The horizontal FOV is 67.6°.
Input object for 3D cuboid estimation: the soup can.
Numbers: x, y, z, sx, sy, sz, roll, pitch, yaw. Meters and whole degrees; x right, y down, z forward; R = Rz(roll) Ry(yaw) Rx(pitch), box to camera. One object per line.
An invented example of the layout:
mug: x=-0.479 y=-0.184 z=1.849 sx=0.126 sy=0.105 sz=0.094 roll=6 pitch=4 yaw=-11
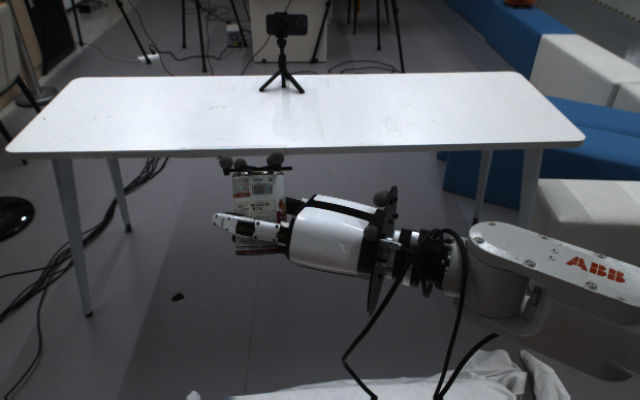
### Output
soup can: x=-0.074 y=0.017 z=0.613 sx=0.067 sy=0.101 sz=0.067 roll=-3 pitch=-1 yaw=0
